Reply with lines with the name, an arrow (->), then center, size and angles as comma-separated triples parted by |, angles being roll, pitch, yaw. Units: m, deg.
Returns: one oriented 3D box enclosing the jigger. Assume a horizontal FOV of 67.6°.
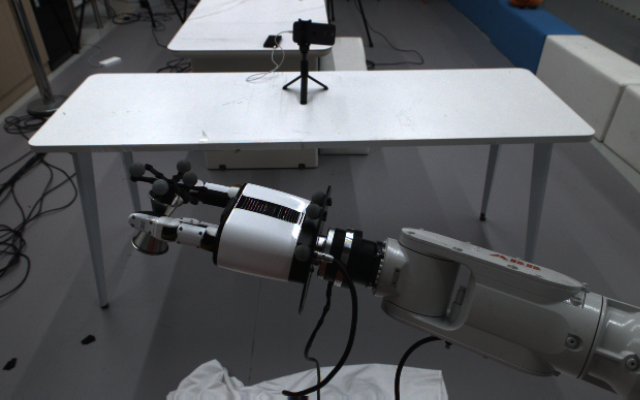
jigger -> -0.192, 0.026, 0.572 | 0.043, 0.071, 0.043 | 22, 19, -8
